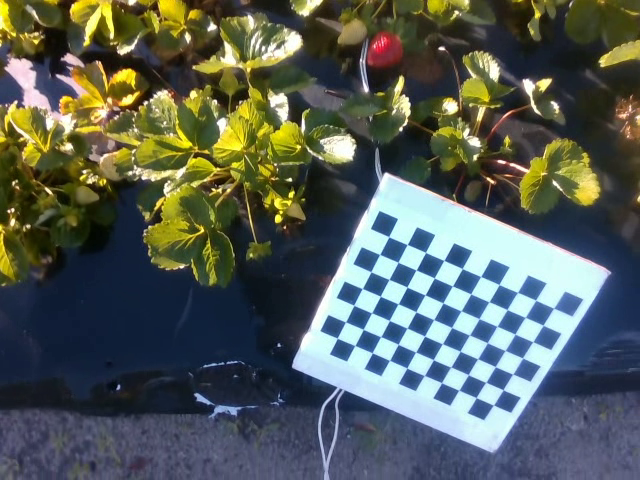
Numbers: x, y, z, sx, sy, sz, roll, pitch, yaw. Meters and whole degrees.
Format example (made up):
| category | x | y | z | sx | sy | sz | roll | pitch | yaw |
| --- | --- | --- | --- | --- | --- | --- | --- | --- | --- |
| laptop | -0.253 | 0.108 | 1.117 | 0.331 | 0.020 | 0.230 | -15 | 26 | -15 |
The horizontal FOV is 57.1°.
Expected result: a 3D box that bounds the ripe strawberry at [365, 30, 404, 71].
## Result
| category | x | y | z | sx | sy | sz | roll | pitch | yaw |
| --- | --- | --- | --- | --- | --- | --- | --- | --- | --- |
| ripe strawberry | 0.093 | -0.277 | 0.834 | 0.080 | 0.063 | 0.040 | -46 | 15 | -29 |
